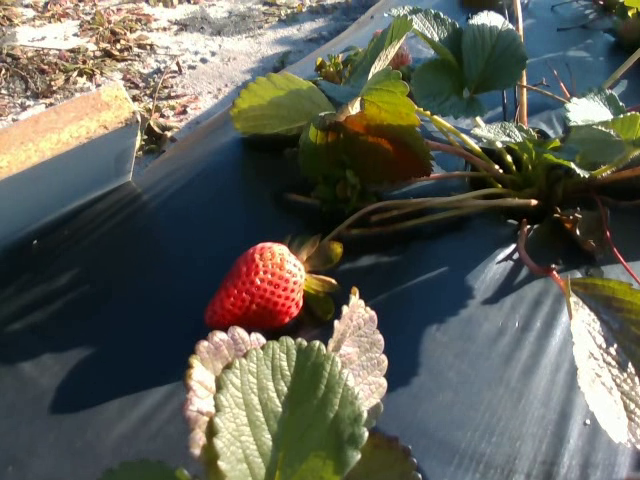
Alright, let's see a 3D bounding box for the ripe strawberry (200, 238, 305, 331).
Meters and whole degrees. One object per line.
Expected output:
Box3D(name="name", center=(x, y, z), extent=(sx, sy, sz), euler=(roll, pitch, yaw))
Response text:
Box3D(name="ripe strawberry", center=(-0.030, 0.022, 0.264), extent=(0.063, 0.044, 0.044), euler=(-35, 3, -40))
